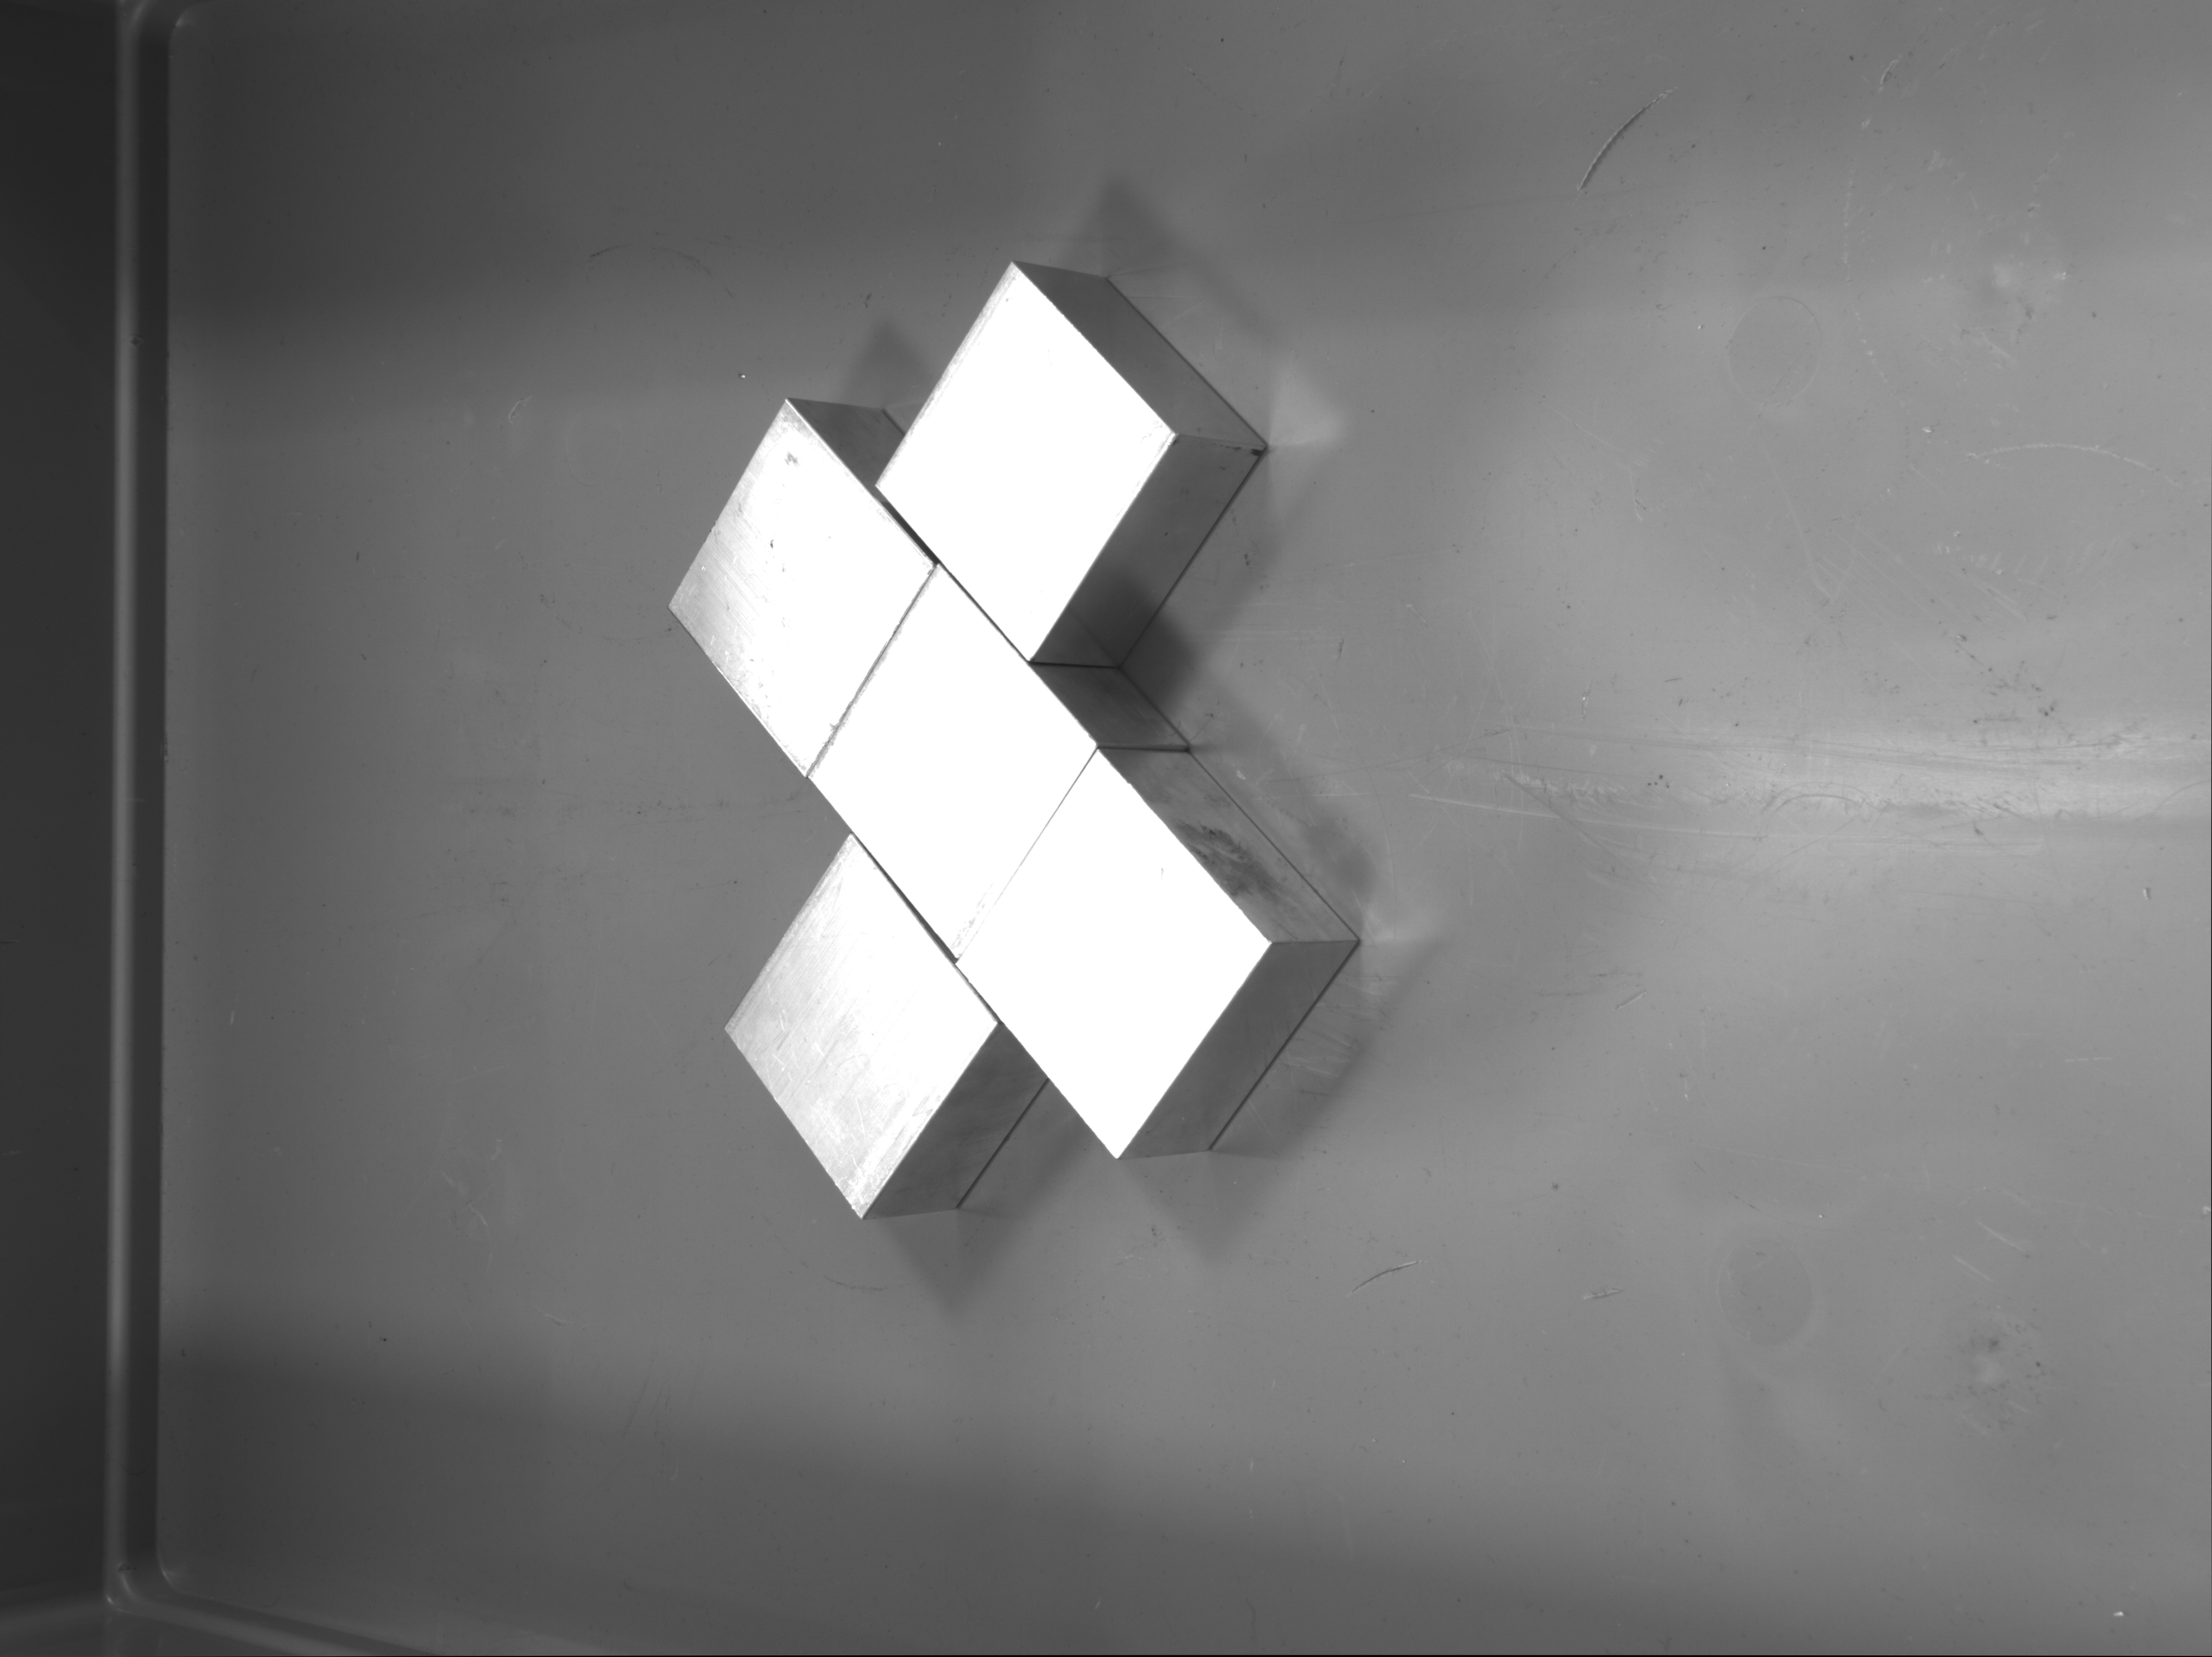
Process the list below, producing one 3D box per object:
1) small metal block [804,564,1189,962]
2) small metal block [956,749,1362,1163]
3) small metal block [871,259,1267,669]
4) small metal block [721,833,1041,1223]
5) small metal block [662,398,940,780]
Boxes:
[{"bbox_3d":[-0.020,-0.012,0.659,0.050,0.025,0.050,49,119,29],"label":"small metal block"},{"bbox_3d":[0.008,0.022,0.635,0.050,0.025,0.050,49,119,29],"label":"small metal block"},{"bbox_3d":[-0.007,-0.064,0.649,0.050,0.025,0.050,49,118,29],"label":"small metal block"},{"bbox_3d":[-0.037,0.036,0.675,0.050,0.025,0.050,50,121,28],"label":"small metal block"},{"bbox_3d":[-0.049,-0.044,0.685,0.050,0.025,0.050,49,119,29],"label":"small metal block"}]
